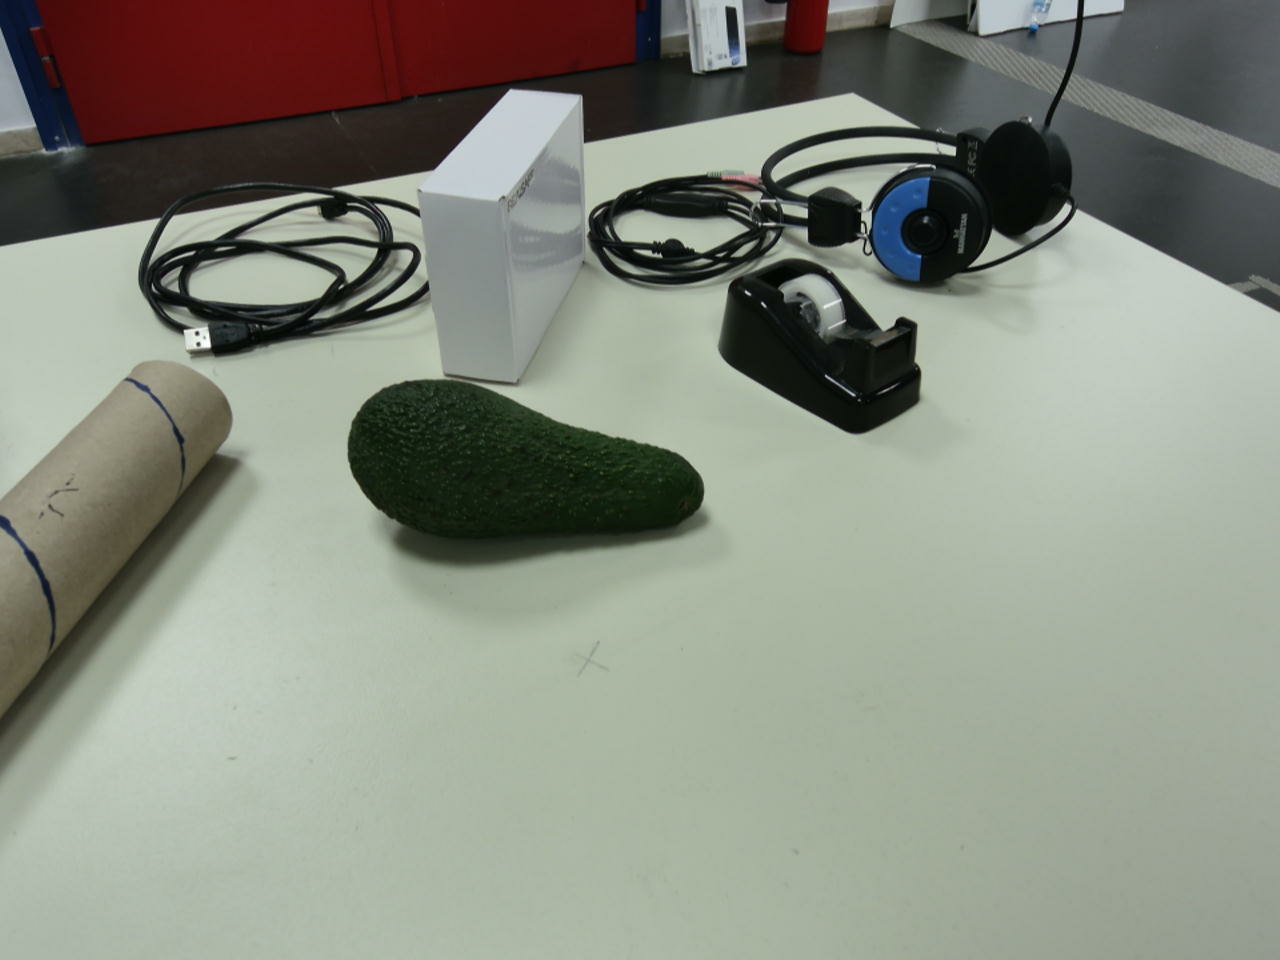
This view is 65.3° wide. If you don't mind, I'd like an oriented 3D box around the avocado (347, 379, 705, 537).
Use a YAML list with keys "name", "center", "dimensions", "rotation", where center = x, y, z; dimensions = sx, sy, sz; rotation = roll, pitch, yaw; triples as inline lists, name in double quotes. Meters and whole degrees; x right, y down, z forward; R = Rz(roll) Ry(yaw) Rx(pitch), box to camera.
- name: "avocado"
  center: [-0.046, -0.013, 0.406]
  dimensions: [0.141, 0.067, 0.063]
  rotation: [-7, 38, -10]
